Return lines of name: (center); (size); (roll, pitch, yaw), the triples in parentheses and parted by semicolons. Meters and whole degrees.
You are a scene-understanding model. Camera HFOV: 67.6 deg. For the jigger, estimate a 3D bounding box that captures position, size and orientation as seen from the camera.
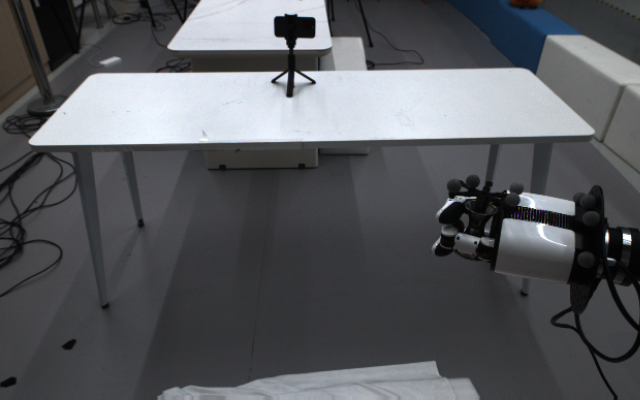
jigger: (0.207, 0.038, 0.635); (0.043, 0.071, 0.043); (3, 25, -1)
